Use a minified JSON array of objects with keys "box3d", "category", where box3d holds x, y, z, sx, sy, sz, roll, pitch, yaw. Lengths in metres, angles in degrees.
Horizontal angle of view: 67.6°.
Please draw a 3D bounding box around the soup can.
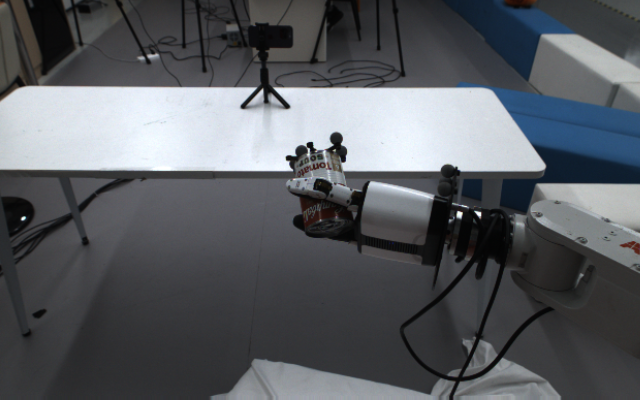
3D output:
[{"box3d":[0.006,-0.008,0.654,0.067,0.067,0.101,-6,67,-12],"category":"soup can"}]
